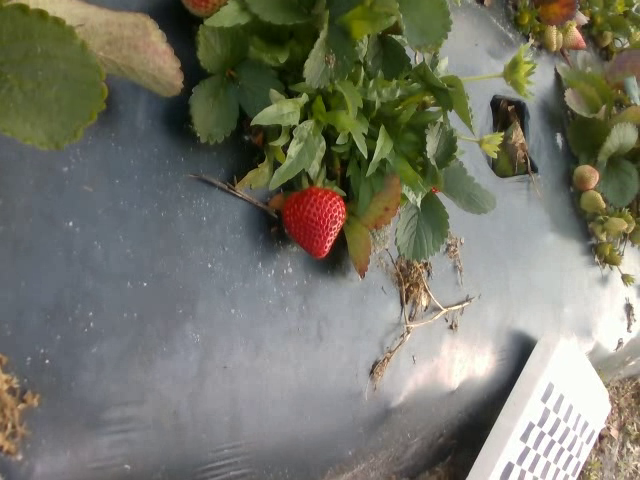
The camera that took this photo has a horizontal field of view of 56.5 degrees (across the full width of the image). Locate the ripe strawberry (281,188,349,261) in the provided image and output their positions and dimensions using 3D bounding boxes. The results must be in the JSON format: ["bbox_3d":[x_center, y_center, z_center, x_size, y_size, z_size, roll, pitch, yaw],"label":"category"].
[{"bbox_3d":[-0.006,-0.010,0.371,0.042,0.051,0.043,-16,-22,39],"label":"ripe strawberry"}]
